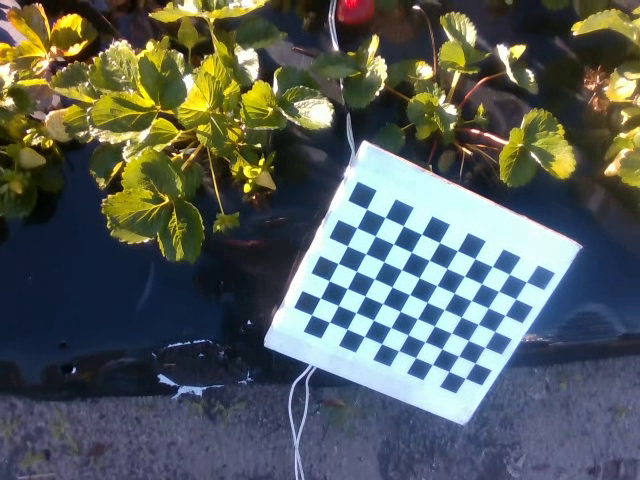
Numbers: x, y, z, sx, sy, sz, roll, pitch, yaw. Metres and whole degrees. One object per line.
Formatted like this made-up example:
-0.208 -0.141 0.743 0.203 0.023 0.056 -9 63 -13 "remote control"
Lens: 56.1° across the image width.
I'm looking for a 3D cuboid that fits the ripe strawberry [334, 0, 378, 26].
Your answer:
0.051 -0.318 0.808 0.040 0.063 0.080 -11 33 52 "ripe strawberry"
